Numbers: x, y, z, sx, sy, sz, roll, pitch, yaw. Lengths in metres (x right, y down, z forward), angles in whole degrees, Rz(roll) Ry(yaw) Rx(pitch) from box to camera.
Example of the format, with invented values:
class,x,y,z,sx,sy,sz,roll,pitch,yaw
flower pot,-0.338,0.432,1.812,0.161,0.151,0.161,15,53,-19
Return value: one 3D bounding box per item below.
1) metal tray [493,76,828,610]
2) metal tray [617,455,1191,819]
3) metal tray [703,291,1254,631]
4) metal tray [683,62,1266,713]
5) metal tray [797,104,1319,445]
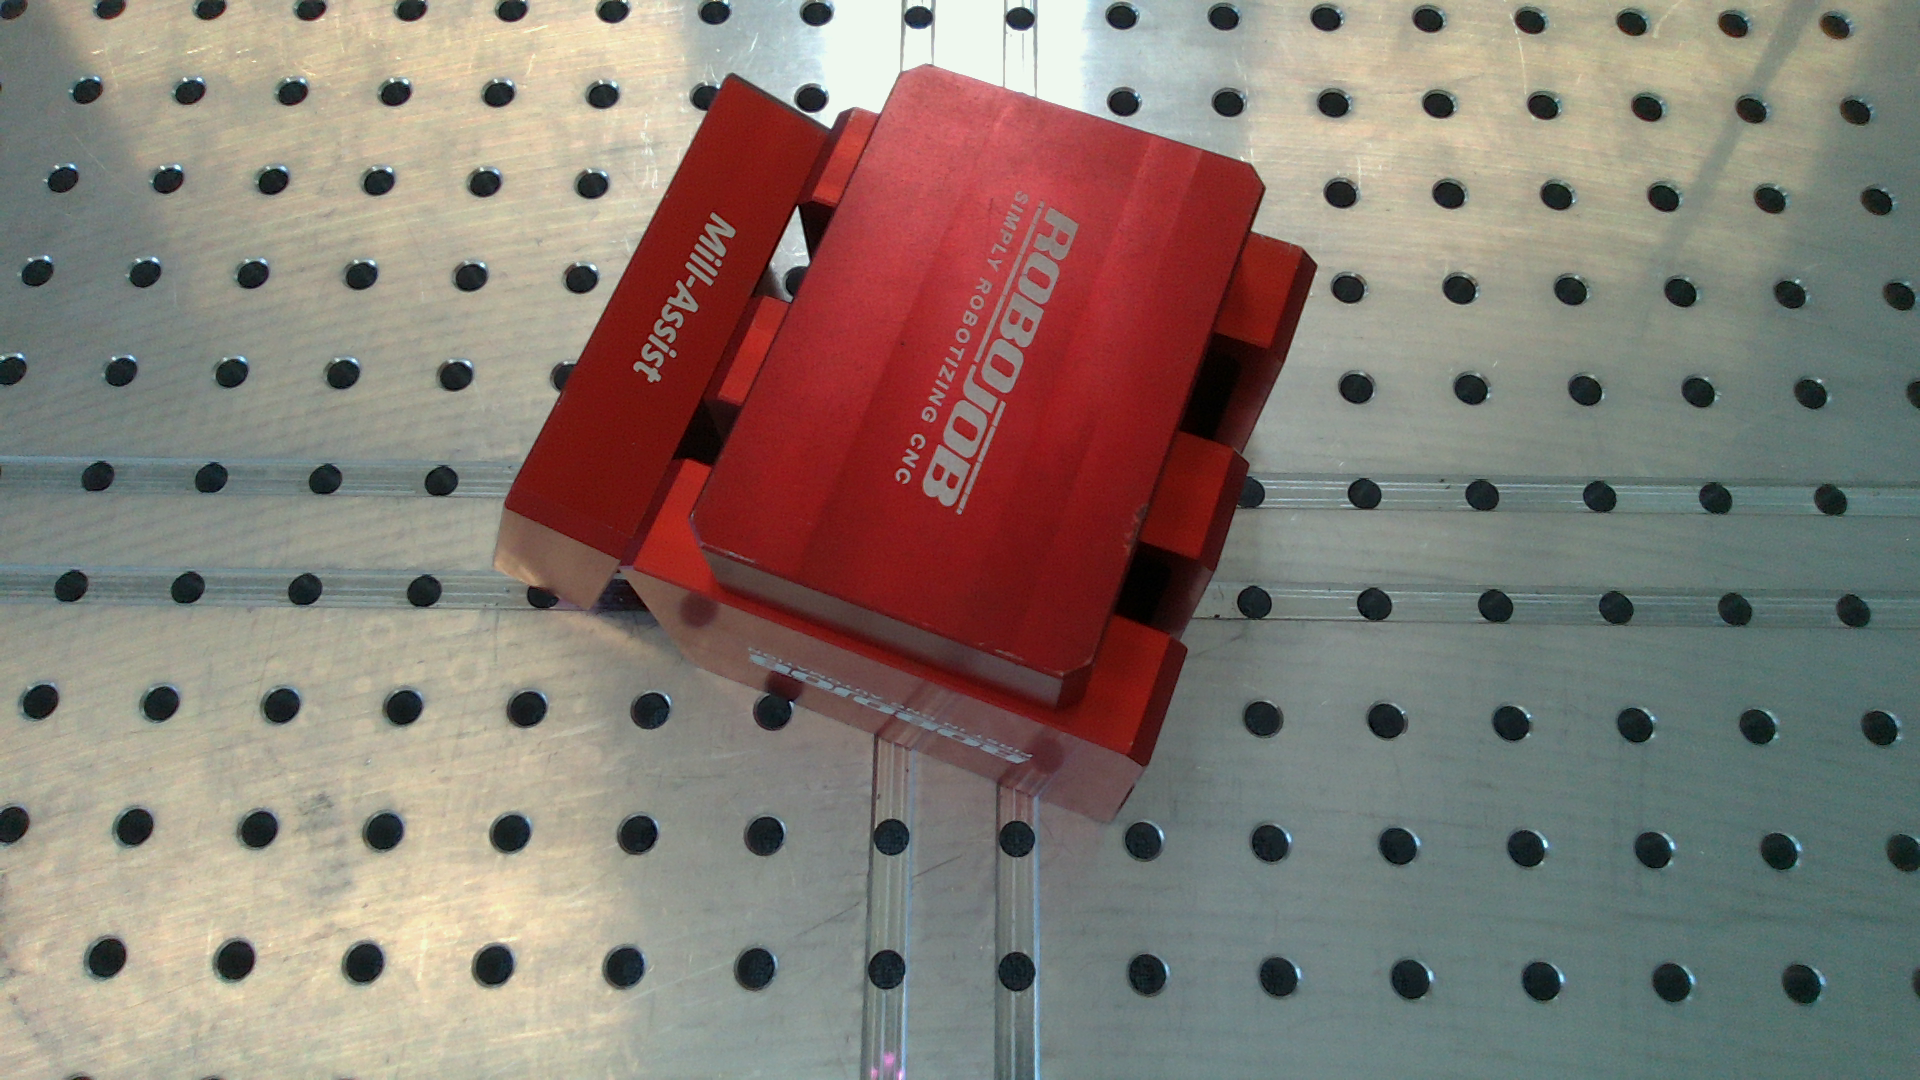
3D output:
class,x,y,z,sx,sy,sz,roll,pitch,yaw
metal tray,-0.083,-0.051,0.378,0.030,0.090,0.130,27,70,-13
metal tray,-0.013,0.029,0.352,0.130,0.090,0.030,20,71,7
metal tray,0.003,-0.013,0.366,0.130,0.090,0.030,19,70,6
metal tray,0.006,-0.038,0.311,0.090,0.030,0.130,20,71,7
metal tray,0.025,-0.065,0.385,0.130,0.090,0.030,19,72,7
